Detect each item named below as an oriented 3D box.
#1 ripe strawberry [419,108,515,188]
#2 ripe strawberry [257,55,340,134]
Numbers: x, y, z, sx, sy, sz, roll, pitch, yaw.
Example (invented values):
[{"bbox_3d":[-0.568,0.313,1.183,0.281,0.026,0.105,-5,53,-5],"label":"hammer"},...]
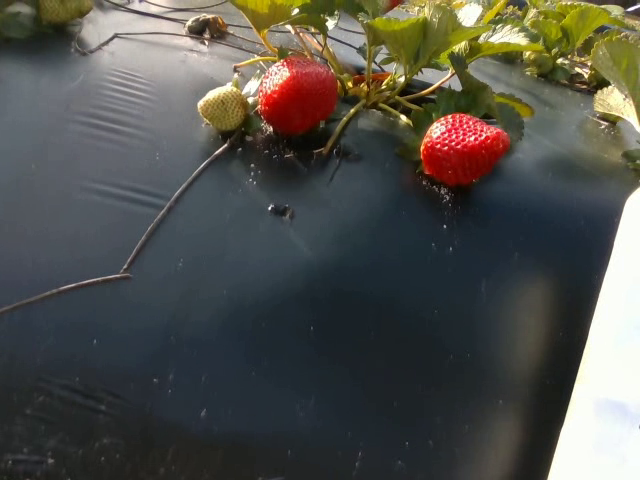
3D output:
[{"bbox_3d":[0.057,-0.038,0.212,0.033,0.038,0.039,34,-5,-8],"label":"ripe strawberry"},{"bbox_3d":[-0.009,-0.060,0.218,0.035,0.041,0.036,5,6,8],"label":"ripe strawberry"}]
